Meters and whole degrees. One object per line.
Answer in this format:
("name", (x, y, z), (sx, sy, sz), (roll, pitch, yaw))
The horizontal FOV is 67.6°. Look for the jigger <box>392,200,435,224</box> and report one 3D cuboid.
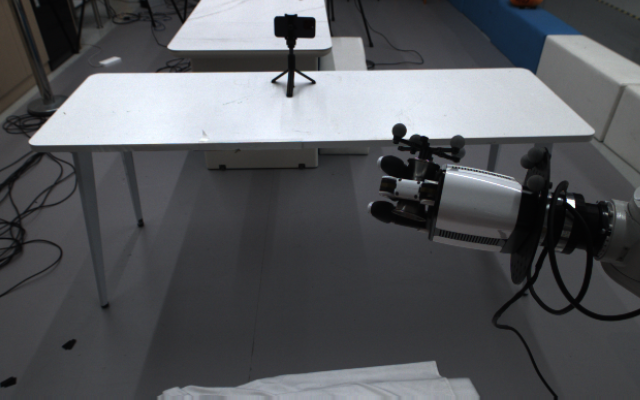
("jigger", (0.119, -0.013, 0.585), (0.043, 0.071, 0.043), (16, -7, 2))
